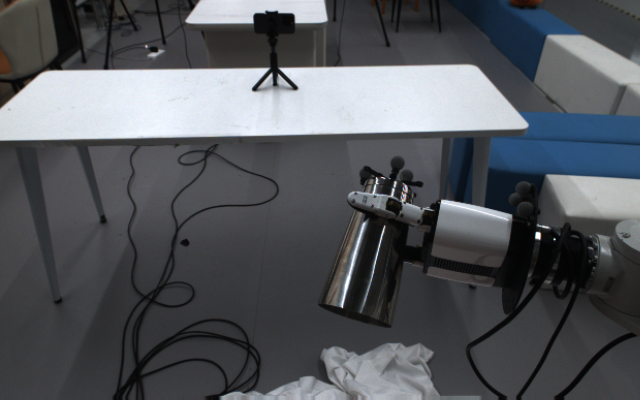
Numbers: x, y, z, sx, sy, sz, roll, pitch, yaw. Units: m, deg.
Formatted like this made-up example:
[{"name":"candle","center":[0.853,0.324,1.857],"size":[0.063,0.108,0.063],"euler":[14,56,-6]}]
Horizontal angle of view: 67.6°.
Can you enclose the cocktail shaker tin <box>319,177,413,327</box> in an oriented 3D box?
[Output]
[{"name":"cocktail shaker tin","center":[0.066,0.059,0.603],"size":[0.093,0.093,0.170],"euler":[13,71,15]}]
